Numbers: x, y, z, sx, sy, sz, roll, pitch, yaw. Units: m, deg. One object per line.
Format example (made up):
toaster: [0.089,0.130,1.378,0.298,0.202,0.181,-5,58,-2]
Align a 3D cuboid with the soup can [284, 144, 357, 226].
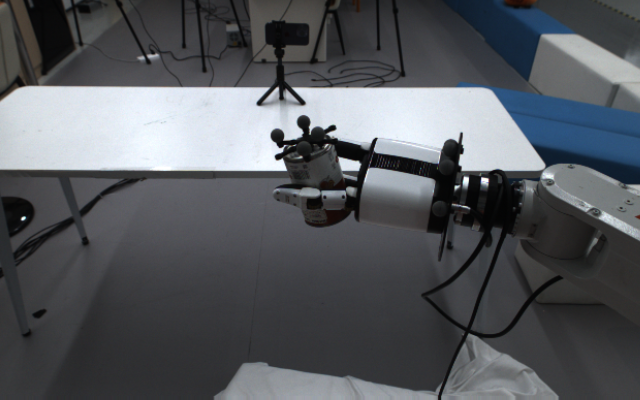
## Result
soup can: [-0.001,-0.025,0.622,0.067,0.101,0.067,-13,31,8]
